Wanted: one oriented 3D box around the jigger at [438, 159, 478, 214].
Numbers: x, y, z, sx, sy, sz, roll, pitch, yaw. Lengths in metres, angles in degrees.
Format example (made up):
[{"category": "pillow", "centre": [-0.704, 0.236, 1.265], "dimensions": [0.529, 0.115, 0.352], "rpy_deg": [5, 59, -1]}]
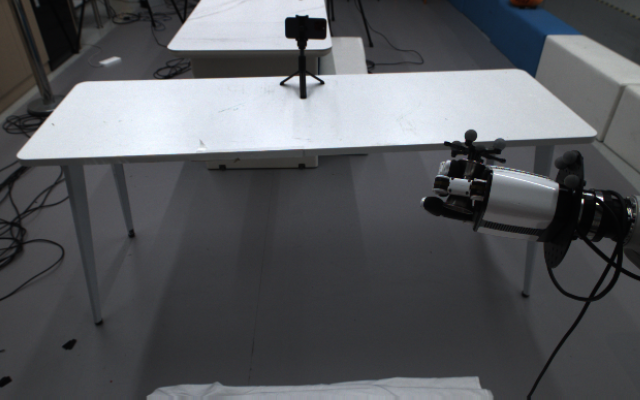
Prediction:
[{"category": "jigger", "centre": [0.203, -0.020, 0.676], "dimensions": [0.043, 0.071, 0.043], "rpy_deg": [19, -6, 2]}]
